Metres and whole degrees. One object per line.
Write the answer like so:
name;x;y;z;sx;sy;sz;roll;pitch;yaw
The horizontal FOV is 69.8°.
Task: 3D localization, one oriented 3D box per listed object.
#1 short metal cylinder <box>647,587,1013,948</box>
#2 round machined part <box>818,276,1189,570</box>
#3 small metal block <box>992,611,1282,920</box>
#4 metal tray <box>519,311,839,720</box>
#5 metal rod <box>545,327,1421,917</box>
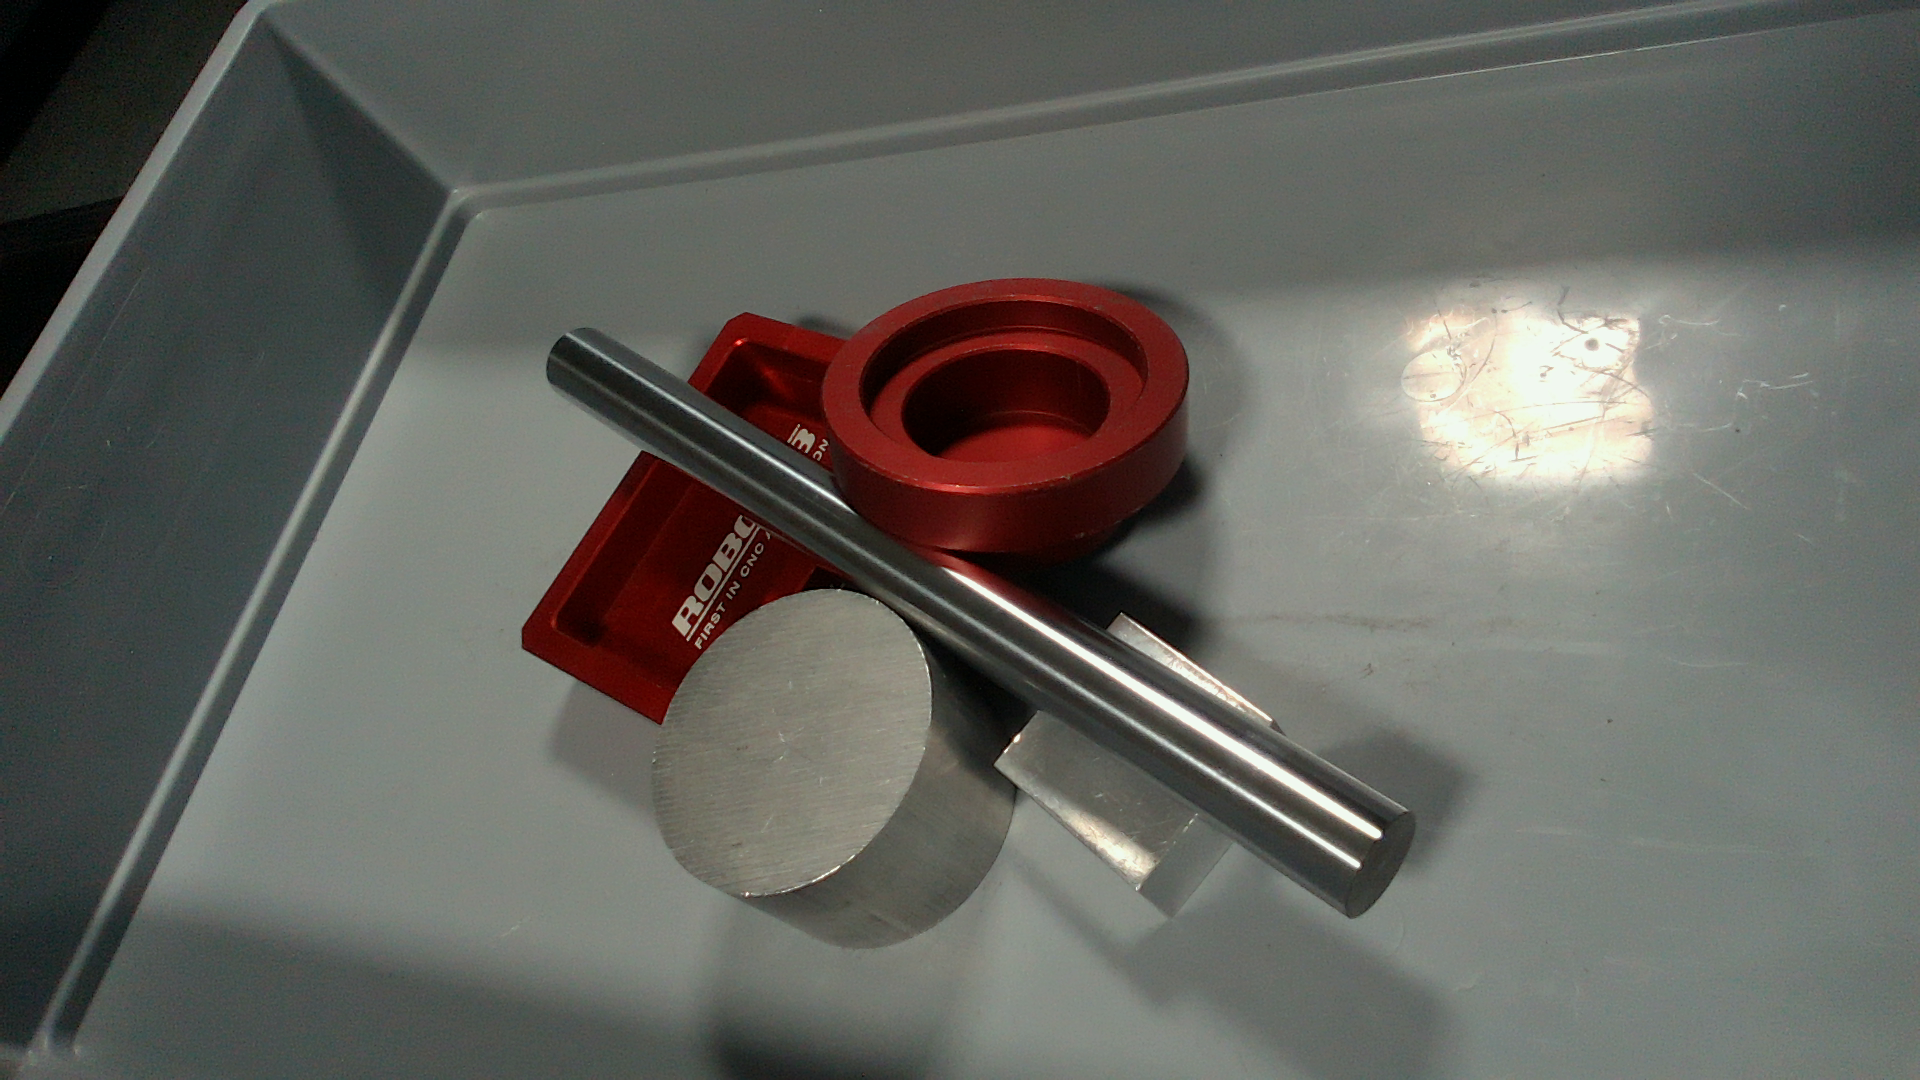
short metal cylinder;-0.033;0.059;0.357;0.080;0.050;0.080;-14;56;21
round machined part;0.013;-0.029;0.376;0.098;0.042;0.098;-4;41;4
small metal block;0.045;0.054;0.334;0.050;0.025;0.050;-49;51;-6
metal tray;-0.067;-0.004;0.427;0.090;0.030;0.130;20;72;36
metal rod;-0.019;0.004;0.363;0.299;0.025;0.025;30;79;36
